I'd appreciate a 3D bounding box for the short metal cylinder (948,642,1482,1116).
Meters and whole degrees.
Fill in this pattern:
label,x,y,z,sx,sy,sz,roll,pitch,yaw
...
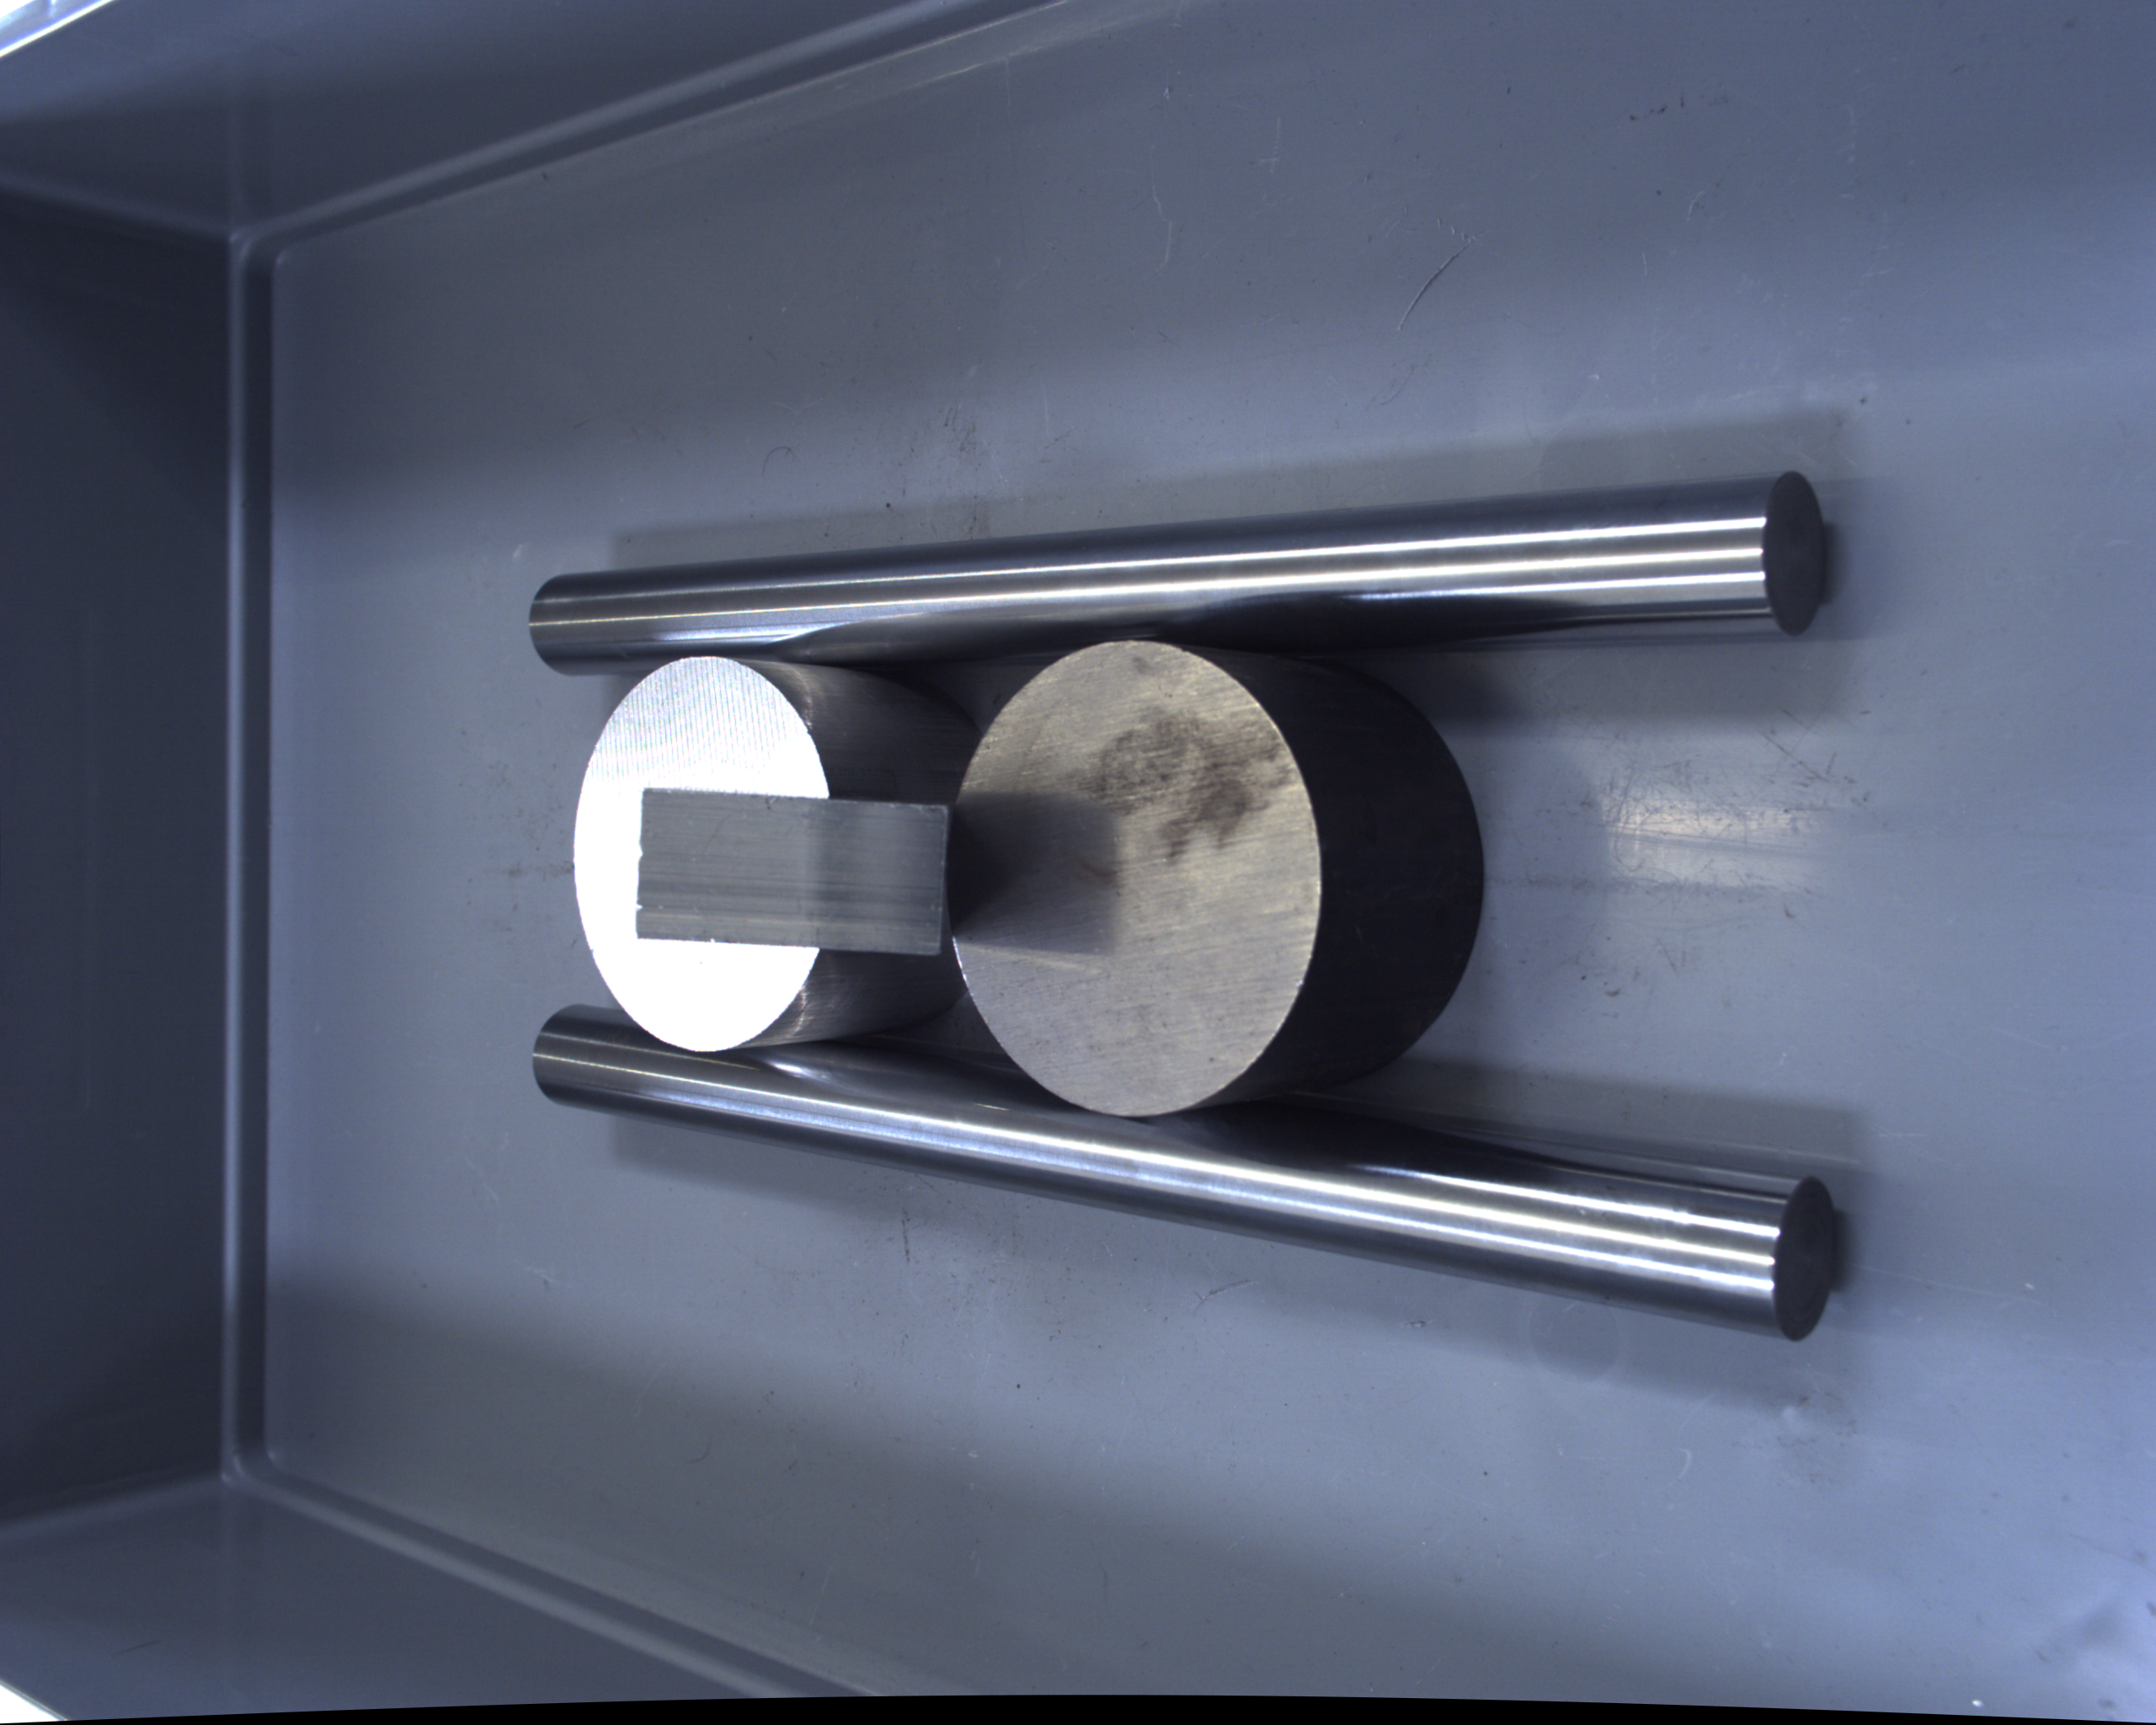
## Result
label,x,y,z,sx,sy,sz,roll,pitch,yaw
short metal cylinder,0.023,0.003,0.369,0.080,0.050,0.079,0,90,40

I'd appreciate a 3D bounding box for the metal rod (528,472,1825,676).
label,x,y,z,sx,sy,sz,roll,pitch,yaw
metal rod,-0.007,-0.052,0.411,0.300,0.025,0.025,3,92,39

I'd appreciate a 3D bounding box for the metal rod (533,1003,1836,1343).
label,x,y,z,sx,sy,sz,roll,pitch,yaw
metal rod,-0.006,0.053,0.410,0.300,0.025,0.025,3,92,39

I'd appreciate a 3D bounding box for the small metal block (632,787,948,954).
label,x,y,z,sx,sy,sz,roll,pitch,yaw
small metal block,-0.049,0.001,0.368,0.050,0.050,0.025,3,92,-3

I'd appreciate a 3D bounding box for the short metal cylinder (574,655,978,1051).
label,x,y,z,sx,sy,sz,roll,pitch,yaw
short metal cylinder,-0.060,-0.002,0.439,0.080,0.050,0.079,0,90,40
